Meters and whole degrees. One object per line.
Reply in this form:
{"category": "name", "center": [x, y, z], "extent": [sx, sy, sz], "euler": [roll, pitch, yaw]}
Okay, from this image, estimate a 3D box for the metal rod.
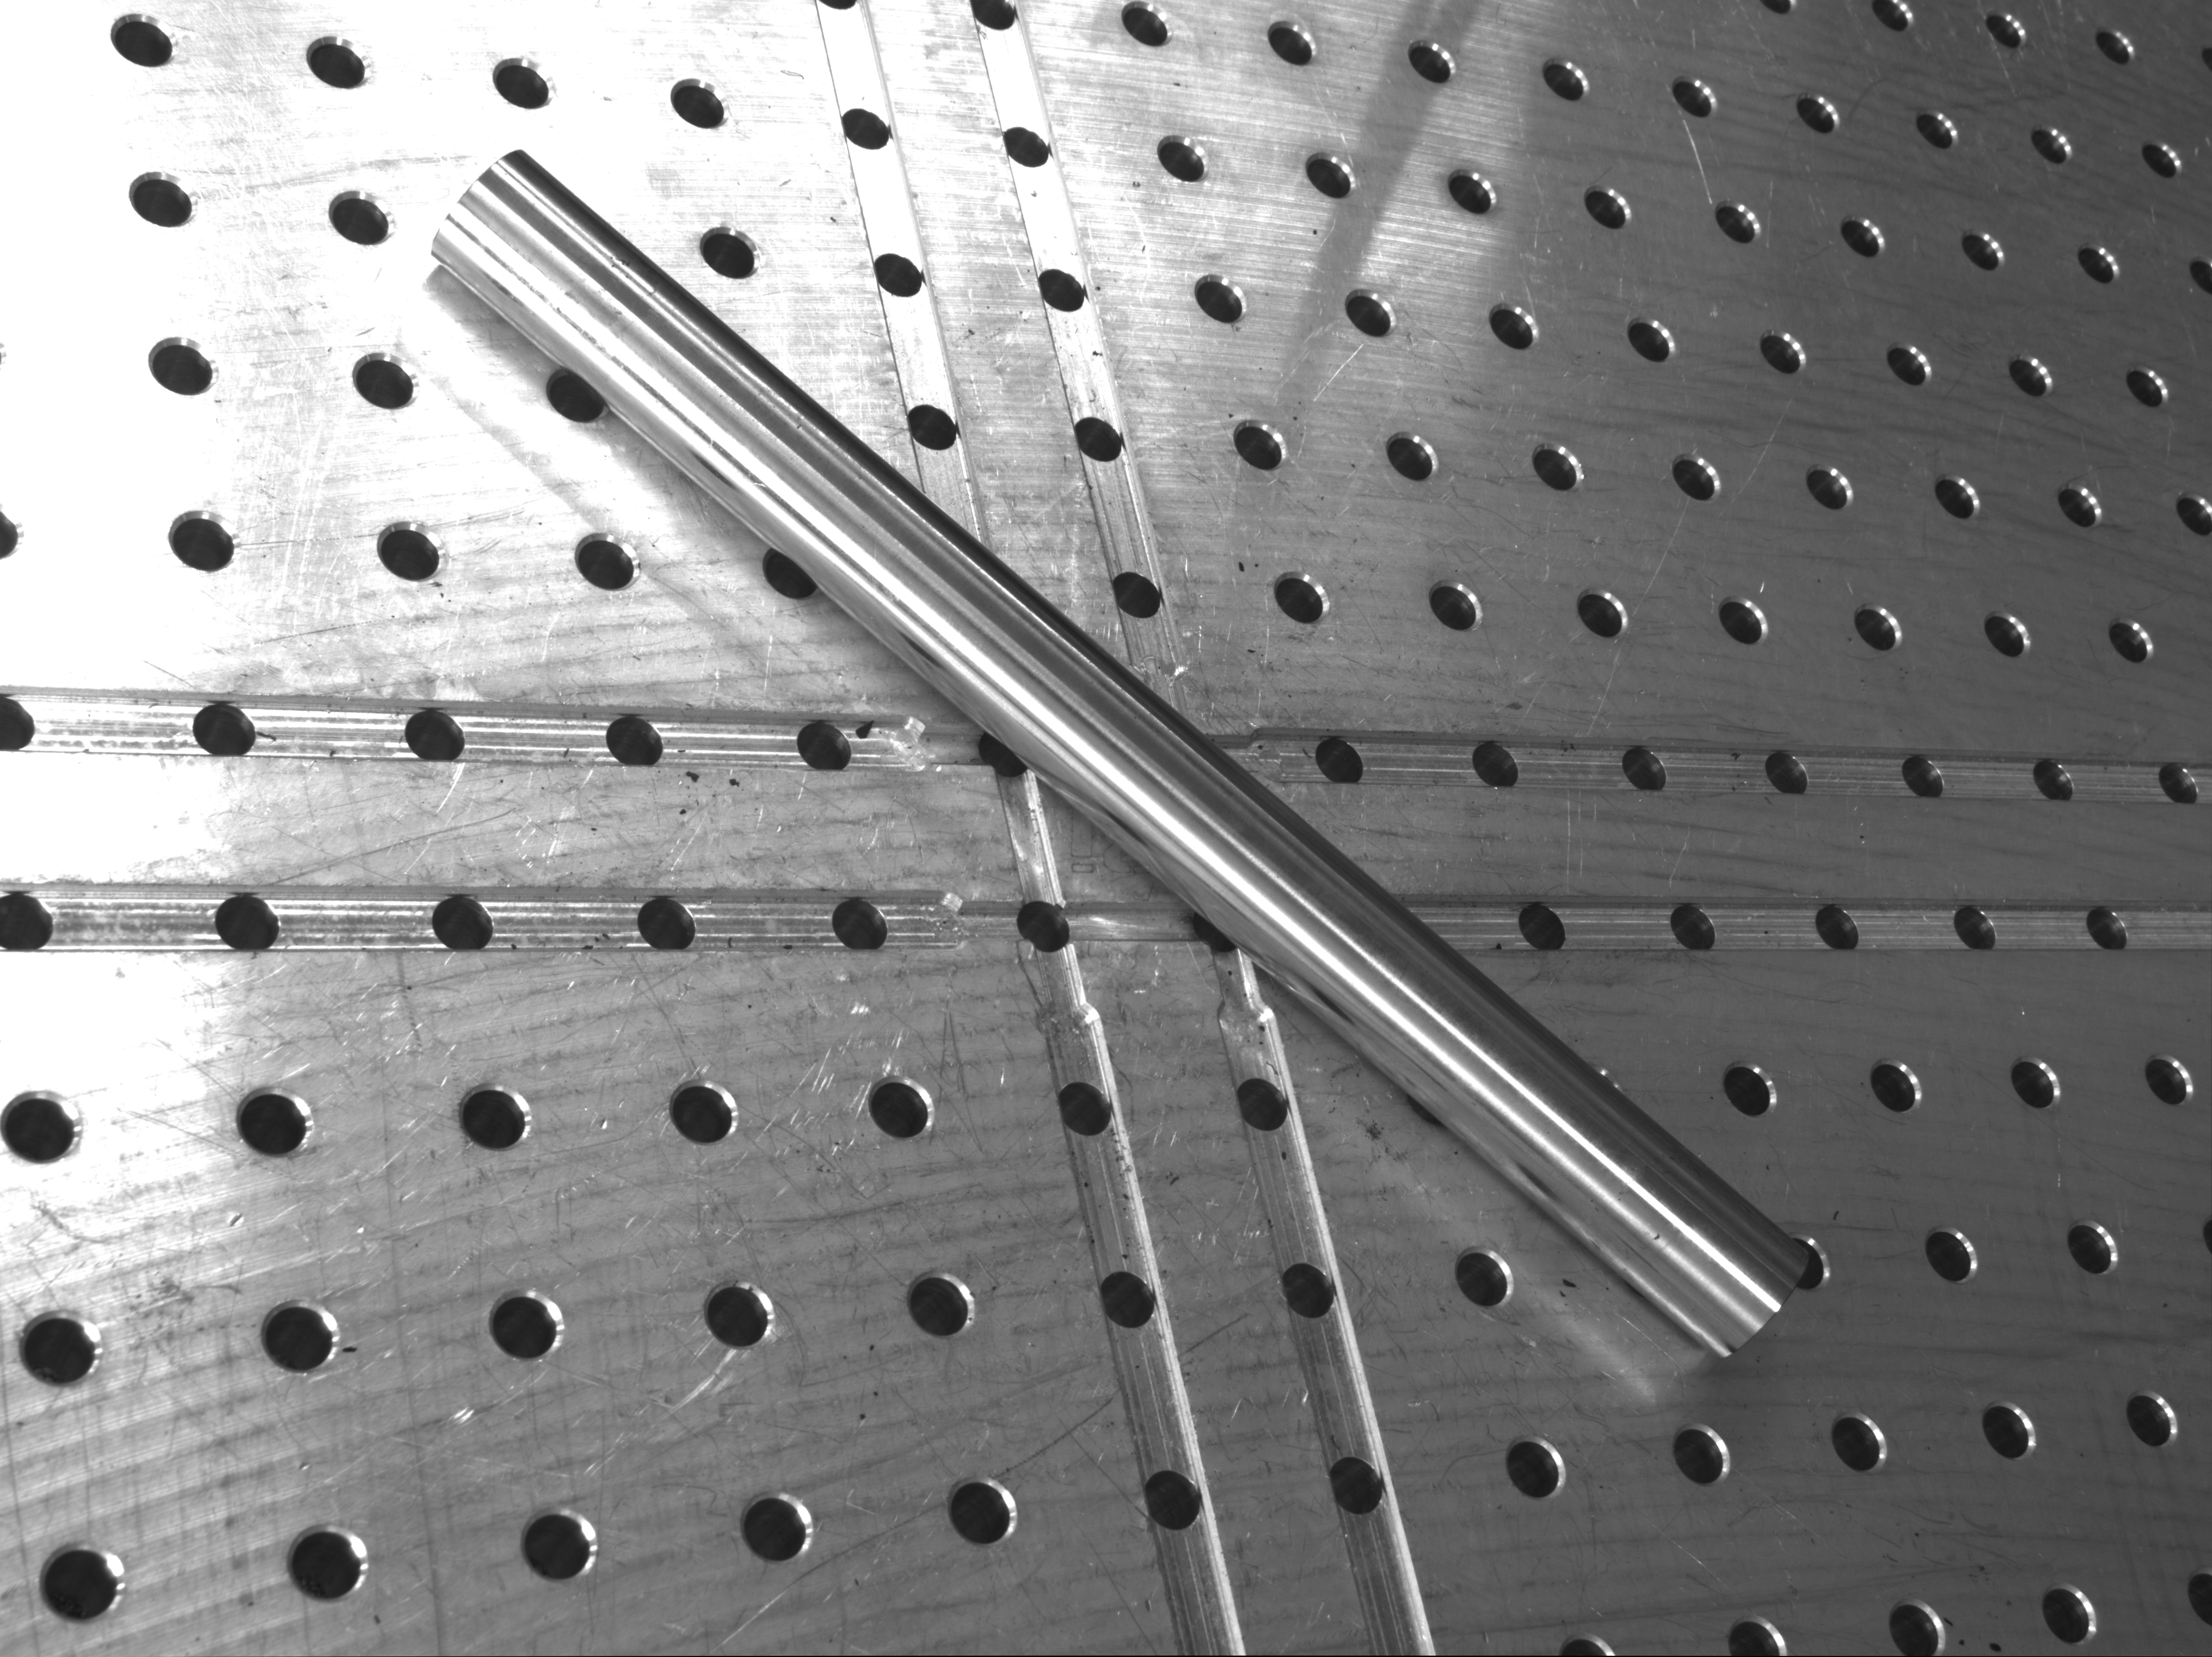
{"category": "metal rod", "center": [0.001, -0.013, 0.651], "extent": [0.300, 0.025, 0.025], "euler": [41, 51, 0]}
